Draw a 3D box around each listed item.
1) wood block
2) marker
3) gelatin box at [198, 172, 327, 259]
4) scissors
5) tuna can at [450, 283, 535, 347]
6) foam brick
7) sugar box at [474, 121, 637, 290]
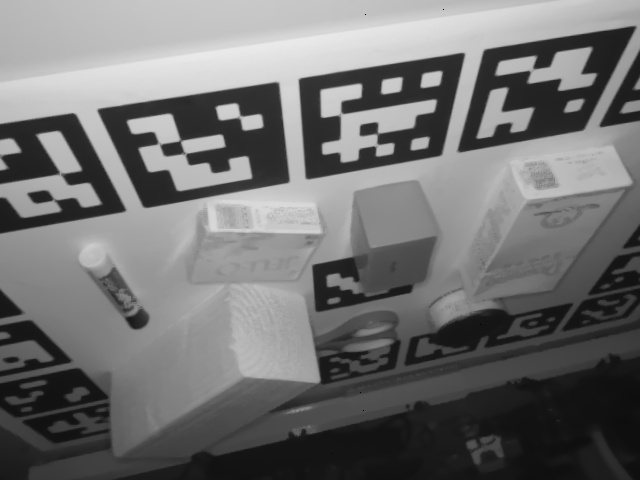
[{"bbox_3d":[-0.100,0.120,0.663,0.091,0.091,0.203,20,133,-38],"label":"wood block"},{"bbox_3d":[-0.152,0.025,0.570,0.020,0.020,0.120,-11,141,-5],"label":"marker"},{"bbox_3d":[-0.047,-0.017,0.546,0.090,0.030,0.072,0,141,-20],"label":"gelatin box"},{"bbox_3d":[0.013,0.108,0.745,0.204,0.016,0.087,-8,143,-12],"label":"scissors"},{"bbox_3d":[0.184,0.079,0.746,0.086,0.034,0.085,-10,143,-7],"label":"tuna can"},{"bbox_3d":[0.059,-0.020,0.554,0.053,0.051,0.077,-11,143,-6],"label":"foam brick"},{"bbox_3d":[0.199,-0.024,0.613,0.093,0.045,0.175,-8,143,-7],"label":"sugar box"}]
